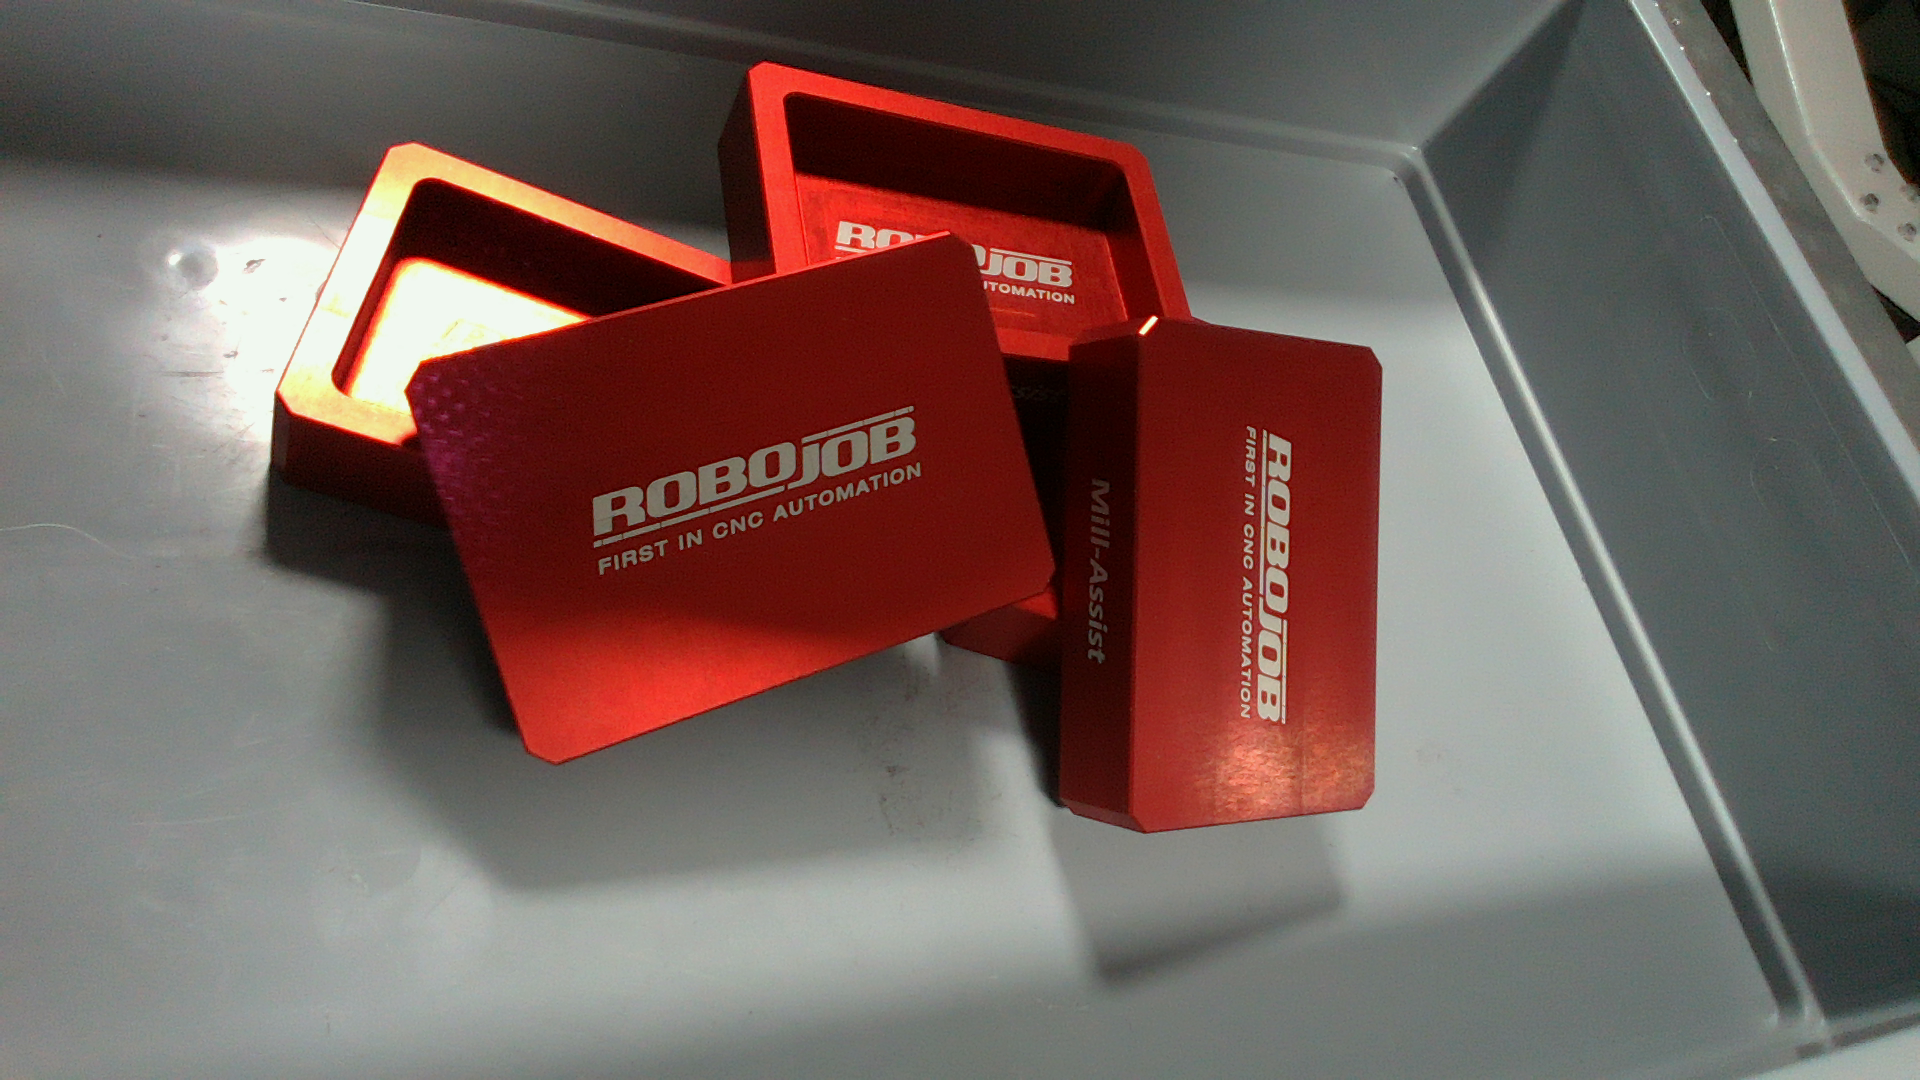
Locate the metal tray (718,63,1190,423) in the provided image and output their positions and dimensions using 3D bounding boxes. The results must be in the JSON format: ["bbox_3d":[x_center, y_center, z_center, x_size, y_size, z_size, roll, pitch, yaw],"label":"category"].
[{"bbox_3d":[0.001,-0.082,0.397,0.130,0.030,0.090,4,60,-26],"label":"metal tray"}]

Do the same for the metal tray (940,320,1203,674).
[{"bbox_3d":[0.044,-0.020,0.420,0.090,0.030,0.130,18,55,-18],"label":"metal tray"}]

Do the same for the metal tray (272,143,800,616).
[{"bbox_3d":[-0.095,-0.040,0.357,0.130,0.030,0.090,18,54,-18],"label":"metal tray"}]

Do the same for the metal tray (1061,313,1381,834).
[{"bbox_3d":[0.073,0.009,0.377,0.090,0.030,0.130,2,89,-34],"label":"metal tray"}]

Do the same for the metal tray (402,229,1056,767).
[{"bbox_3d":[-0.050,-0.013,0.322,0.130,0.030,0.090,-18,100,-19],"label":"metal tray"}]
